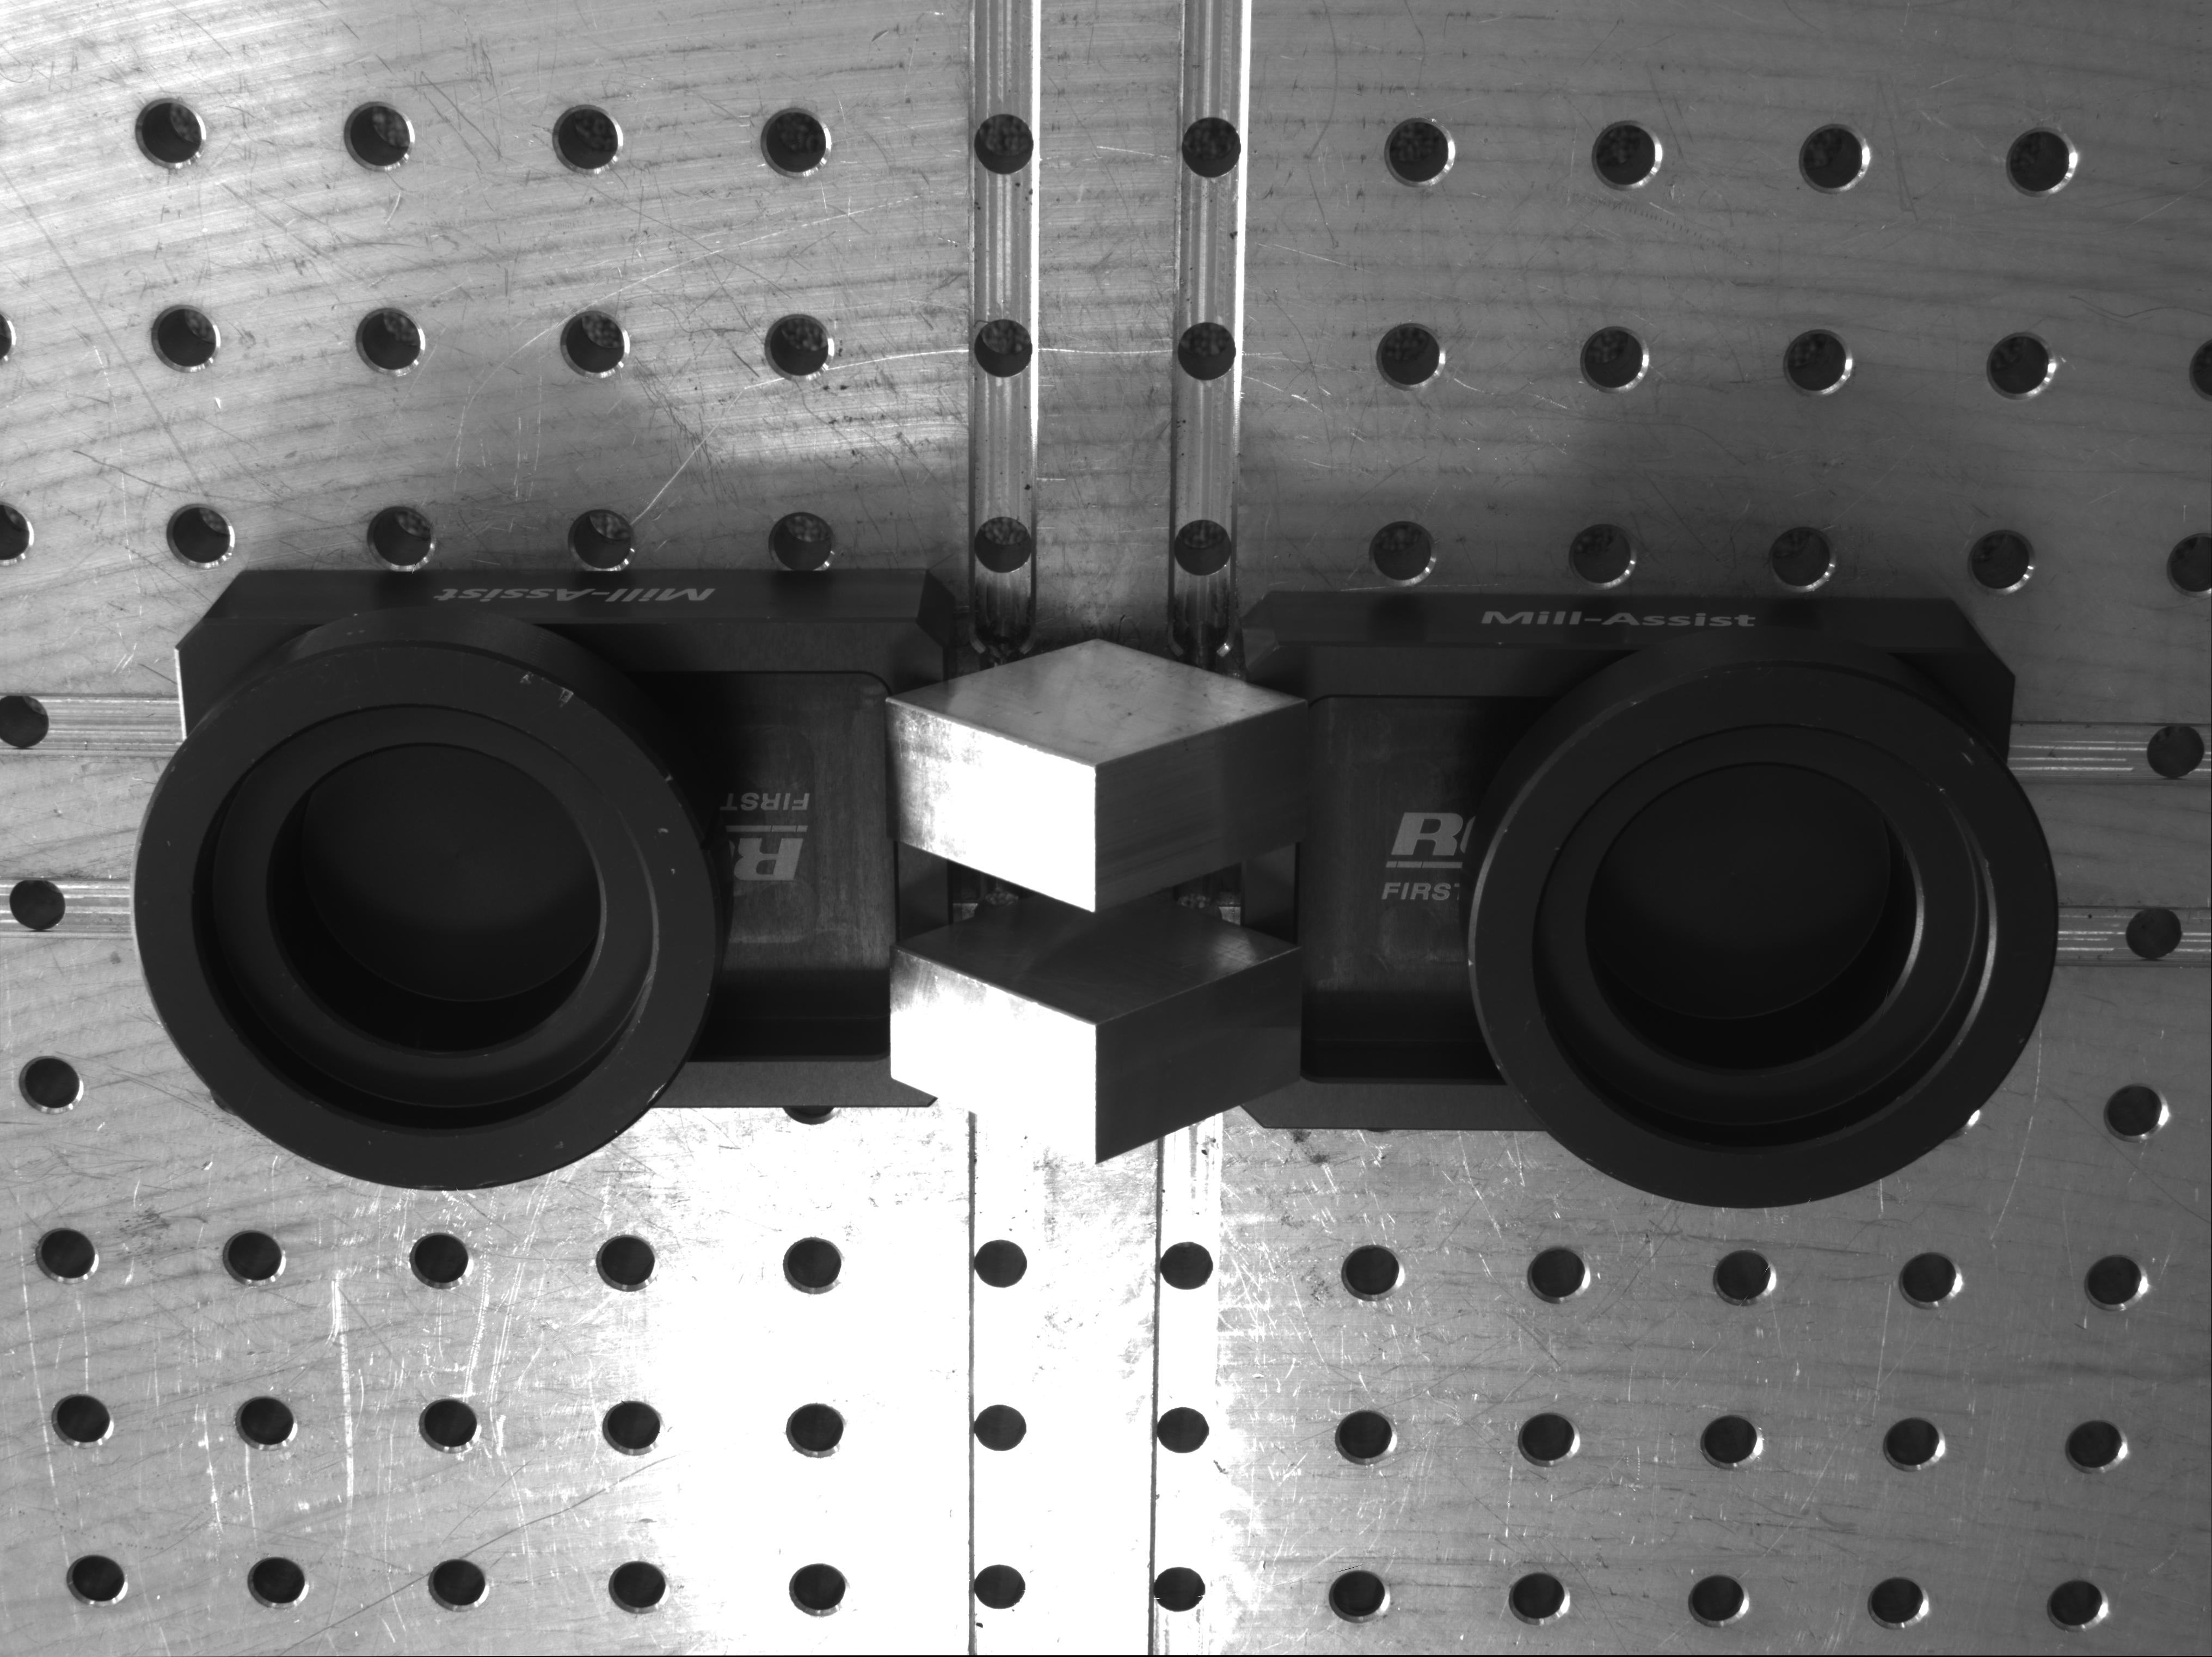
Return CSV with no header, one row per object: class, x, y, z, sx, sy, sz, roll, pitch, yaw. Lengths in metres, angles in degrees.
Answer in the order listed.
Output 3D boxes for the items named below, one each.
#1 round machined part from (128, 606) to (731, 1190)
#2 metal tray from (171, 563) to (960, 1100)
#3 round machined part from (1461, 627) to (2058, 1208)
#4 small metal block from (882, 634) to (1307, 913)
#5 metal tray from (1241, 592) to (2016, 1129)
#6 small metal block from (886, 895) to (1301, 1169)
round machined part,-0.113,0.009,0.627,0.098,0.042,0.098,0,110,0
metal tray,-0.092,0.001,0.645,0.130,0.030,0.090,-1,112,0
round machined part,0.109,0.012,0.628,0.098,0.042,0.098,0,110,0
small metal block,-0.002,-0.010,0.614,0.050,0.050,0.025,19,117,41
metal tray,0.089,0.006,0.646,0.130,0.030,0.090,1,110,0
small metal block,-0.002,0.032,0.629,0.050,0.050,0.025,19,117,41
